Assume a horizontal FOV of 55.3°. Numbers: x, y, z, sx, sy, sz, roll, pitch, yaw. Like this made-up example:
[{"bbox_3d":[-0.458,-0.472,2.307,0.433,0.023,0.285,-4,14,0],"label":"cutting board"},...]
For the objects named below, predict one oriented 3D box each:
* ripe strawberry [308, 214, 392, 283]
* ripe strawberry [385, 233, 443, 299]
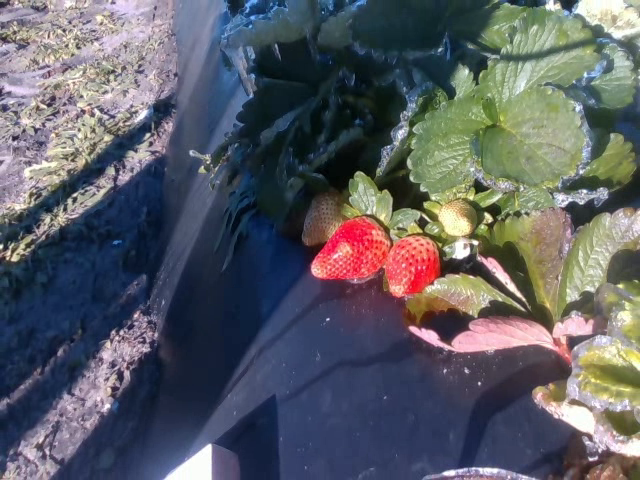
[{"bbox_3d":[0.014,0.011,0.347,0.051,0.040,0.036,-27,20,-28],"label":"ripe strawberry"},{"bbox_3d":[0.049,0.016,0.328,0.030,0.041,0.036,39,-40,-28],"label":"ripe strawberry"}]
